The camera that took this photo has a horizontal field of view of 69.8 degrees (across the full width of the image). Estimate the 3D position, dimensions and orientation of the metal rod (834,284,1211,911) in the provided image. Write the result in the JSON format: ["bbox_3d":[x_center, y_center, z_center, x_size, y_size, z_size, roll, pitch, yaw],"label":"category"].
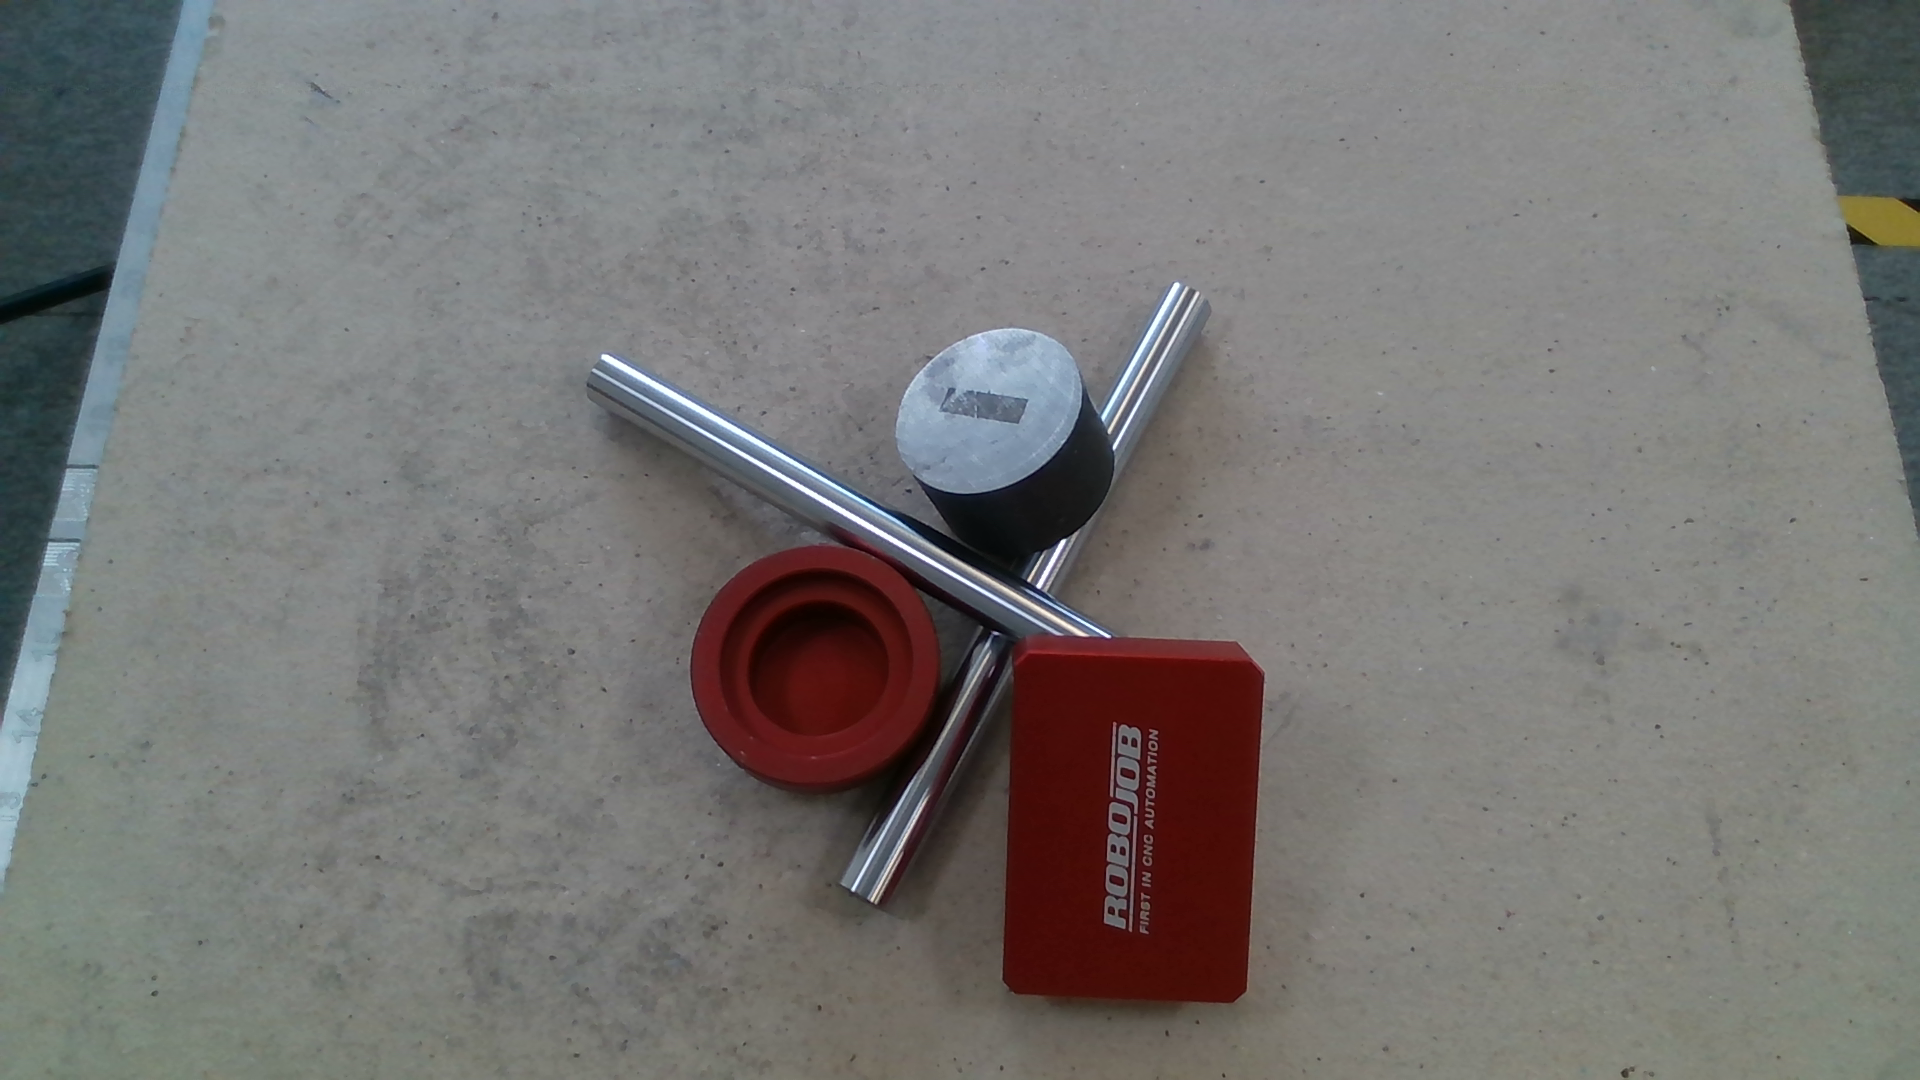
[{"bbox_3d":[0.032,0.015,0.584,0.025,0.025,0.299,27,73,9],"label":"metal rod"}]

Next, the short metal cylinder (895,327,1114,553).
[{"bbox_3d":[0.019,-0.042,0.576,0.080,0.050,0.080,-11,56,17],"label":"short metal cylinder"}]

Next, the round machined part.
[{"bbox_3d":[-0.057,0.054,0.560,0.098,0.042,0.098,0,70,0],"label":"round machined part"}]

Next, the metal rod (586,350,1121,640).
[{"bbox_3d":[-0.033,-0.003,0.571,0.300,0.025,0.025,29,73,17],"label":"metal rod"}]

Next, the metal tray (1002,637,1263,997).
[{"bbox_3d":[0.063,0.103,0.519,0.090,0.030,0.130,2,98,1],"label":"metal tray"}]
